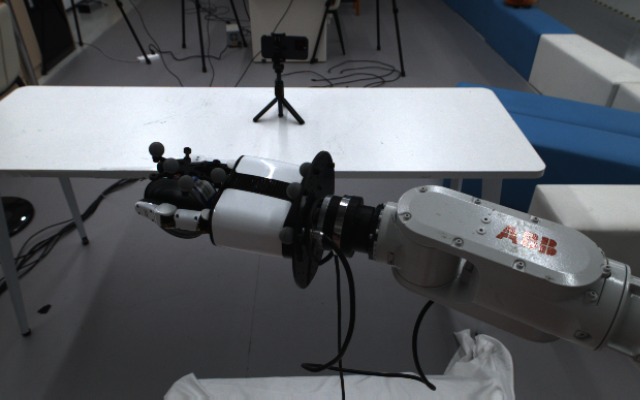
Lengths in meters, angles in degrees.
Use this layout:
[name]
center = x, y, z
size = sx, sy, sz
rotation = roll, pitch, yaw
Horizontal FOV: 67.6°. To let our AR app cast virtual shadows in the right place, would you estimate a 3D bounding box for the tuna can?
[tuna can]
center = -0.163, 0.002, 0.584
size = 0.085, 0.085, 0.034
rotation = 12, 33, 14
